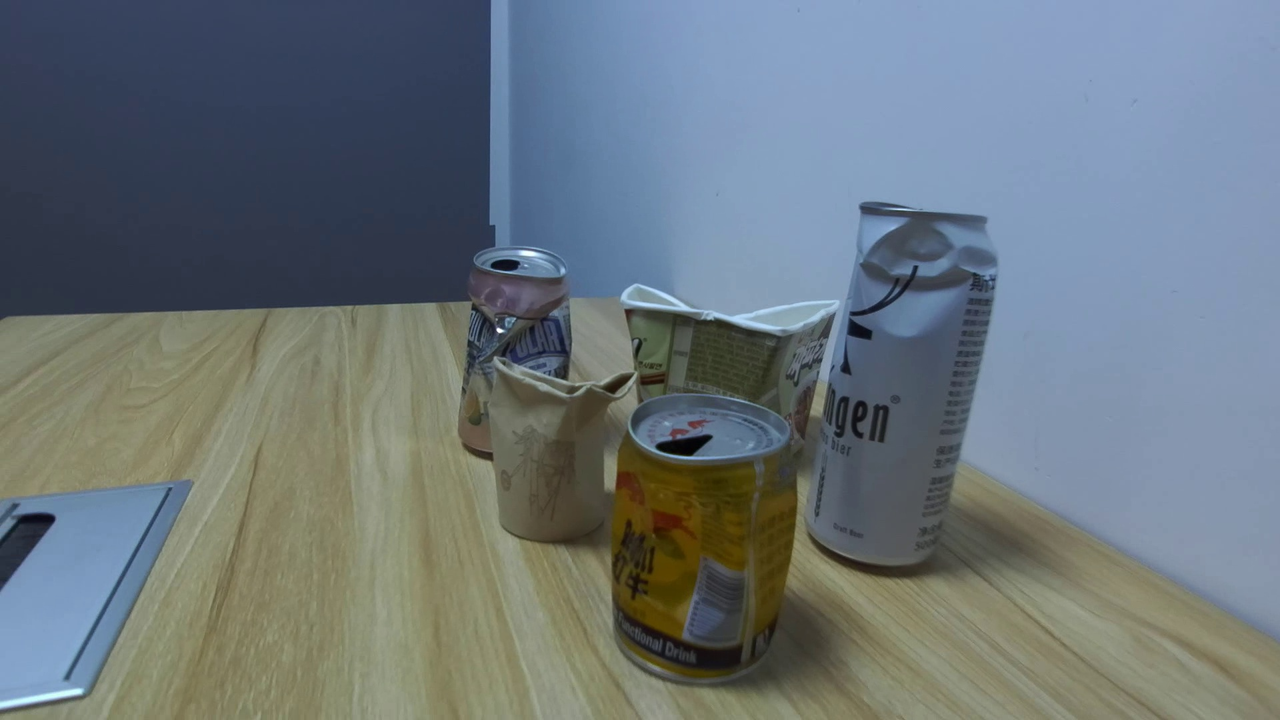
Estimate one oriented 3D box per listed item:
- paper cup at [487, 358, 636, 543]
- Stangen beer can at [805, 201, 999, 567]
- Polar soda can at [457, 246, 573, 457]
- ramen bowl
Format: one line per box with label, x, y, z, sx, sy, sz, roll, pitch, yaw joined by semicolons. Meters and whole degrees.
paper cup;-0.039;0.042;0.353;0.066;0.083;0.058;17;22;37
Stangen beer can;0.120;0.015;0.336;0.066;0.165;0.066;8;12;11
Polar soda can;-0.075;-0.002;0.432;0.067;0.121;0.071;4;14;-9
ramen bowl;0.052;0.003;0.462;0.128;0.093;0.112;12;21;28
